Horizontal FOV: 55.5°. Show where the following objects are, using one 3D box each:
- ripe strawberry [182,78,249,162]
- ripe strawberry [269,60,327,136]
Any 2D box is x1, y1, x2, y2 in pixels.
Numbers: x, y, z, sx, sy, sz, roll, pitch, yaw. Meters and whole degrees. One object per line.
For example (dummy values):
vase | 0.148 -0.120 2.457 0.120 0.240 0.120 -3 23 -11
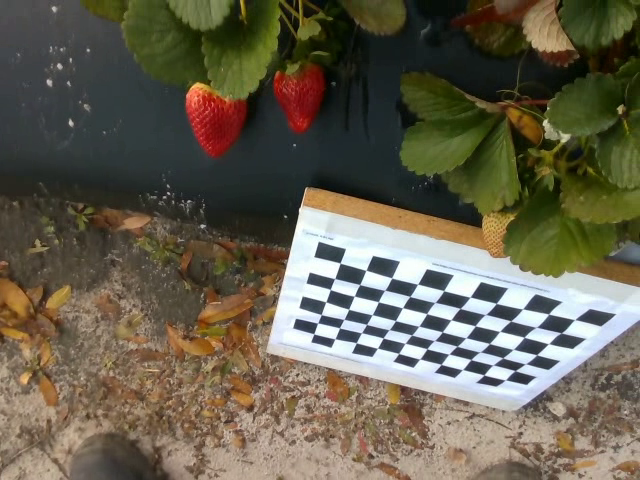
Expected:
ripe strawberry | -0.078 -0.090 0.450 0.050 0.061 0.045 11 17 9
ripe strawberry | -0.016 -0.100 0.428 0.042 0.053 0.034 8 20 14
